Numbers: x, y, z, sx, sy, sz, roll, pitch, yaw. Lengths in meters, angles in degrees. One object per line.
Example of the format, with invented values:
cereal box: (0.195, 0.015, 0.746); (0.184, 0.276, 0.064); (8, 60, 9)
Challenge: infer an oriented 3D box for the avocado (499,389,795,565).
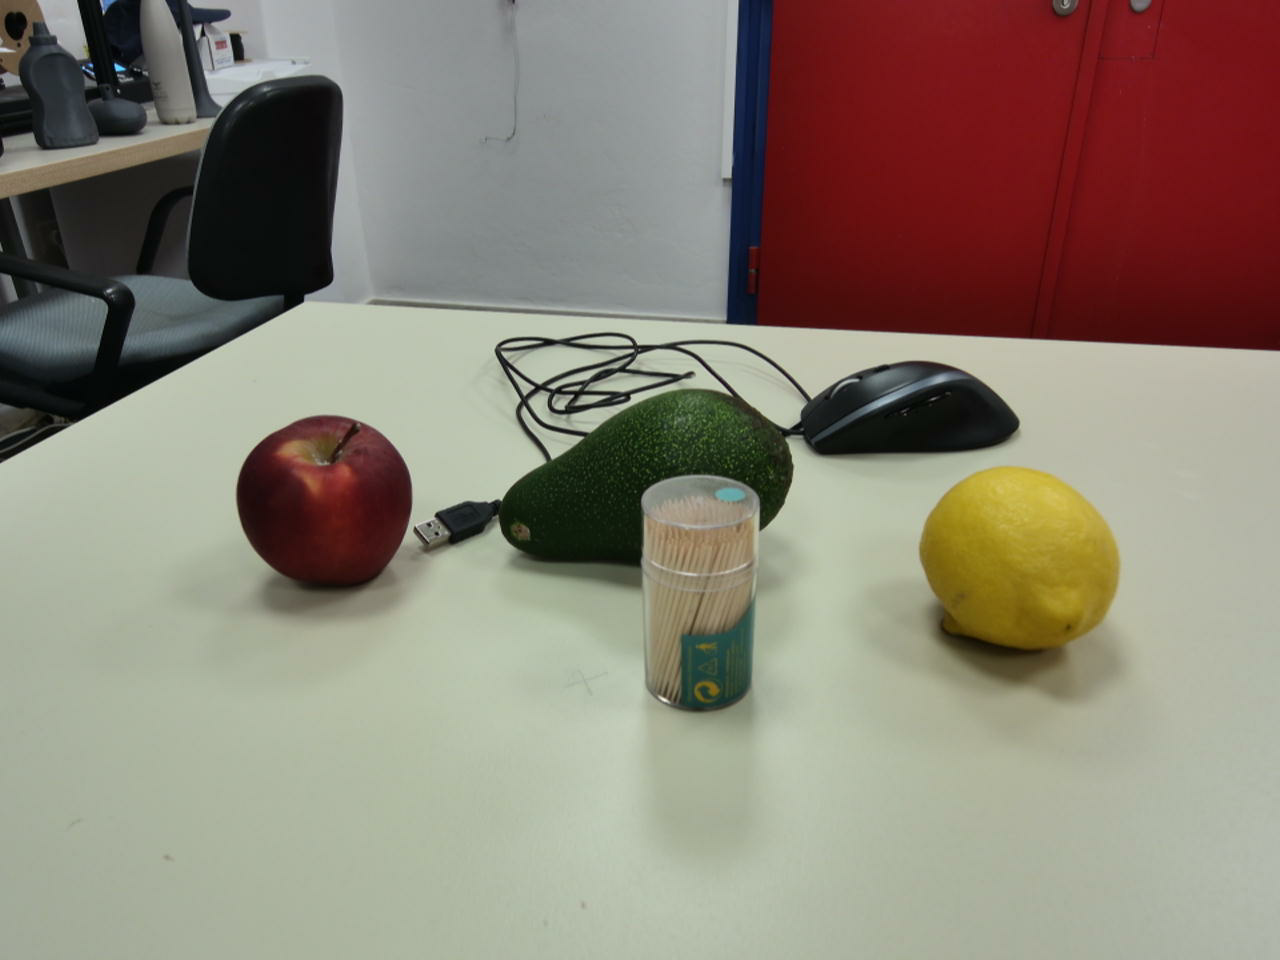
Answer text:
avocado: (0.004, -0.003, 0.435); (0.123, 0.076, 0.074); (8, 25, 18)
